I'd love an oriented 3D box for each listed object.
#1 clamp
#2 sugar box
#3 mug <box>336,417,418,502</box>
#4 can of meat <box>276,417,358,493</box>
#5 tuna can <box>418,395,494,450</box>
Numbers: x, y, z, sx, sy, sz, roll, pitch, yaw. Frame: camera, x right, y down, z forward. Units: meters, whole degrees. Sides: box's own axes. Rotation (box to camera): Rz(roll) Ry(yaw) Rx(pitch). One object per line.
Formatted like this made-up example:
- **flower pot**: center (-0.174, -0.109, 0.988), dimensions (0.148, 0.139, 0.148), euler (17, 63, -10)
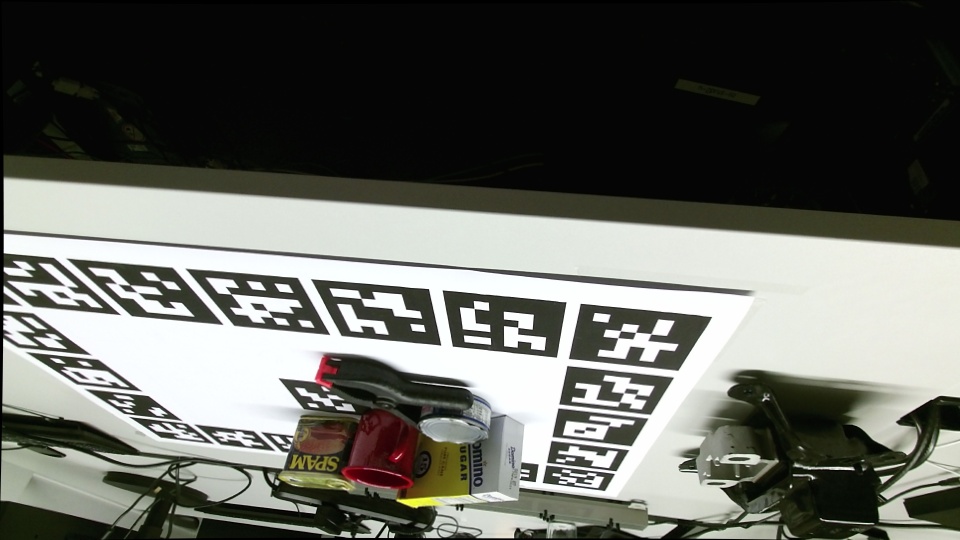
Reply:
- **clamp**: center (-0.106, 0.134, 0.598), dimensions (0.166, 0.036, 0.122), euler (30, 142, -18)
- **sugar box**: center (-0.030, 0.250, 0.684), dimensions (0.177, 0.092, 0.045), euler (-22, 134, 36)
- **mug**: center (-0.122, 0.236, 0.681), dimensions (0.093, 0.081, 0.117), euler (21, 139, -13)
- **can of meat**: center (-0.219, 0.253, 0.737), dimensions (0.102, 0.083, 0.058), euler (0, 142, 14)
- **tuna can**: center (-0.027, 0.179, 0.629), dimensions (0.086, 0.033, 0.086), euler (6, 140, 5)
